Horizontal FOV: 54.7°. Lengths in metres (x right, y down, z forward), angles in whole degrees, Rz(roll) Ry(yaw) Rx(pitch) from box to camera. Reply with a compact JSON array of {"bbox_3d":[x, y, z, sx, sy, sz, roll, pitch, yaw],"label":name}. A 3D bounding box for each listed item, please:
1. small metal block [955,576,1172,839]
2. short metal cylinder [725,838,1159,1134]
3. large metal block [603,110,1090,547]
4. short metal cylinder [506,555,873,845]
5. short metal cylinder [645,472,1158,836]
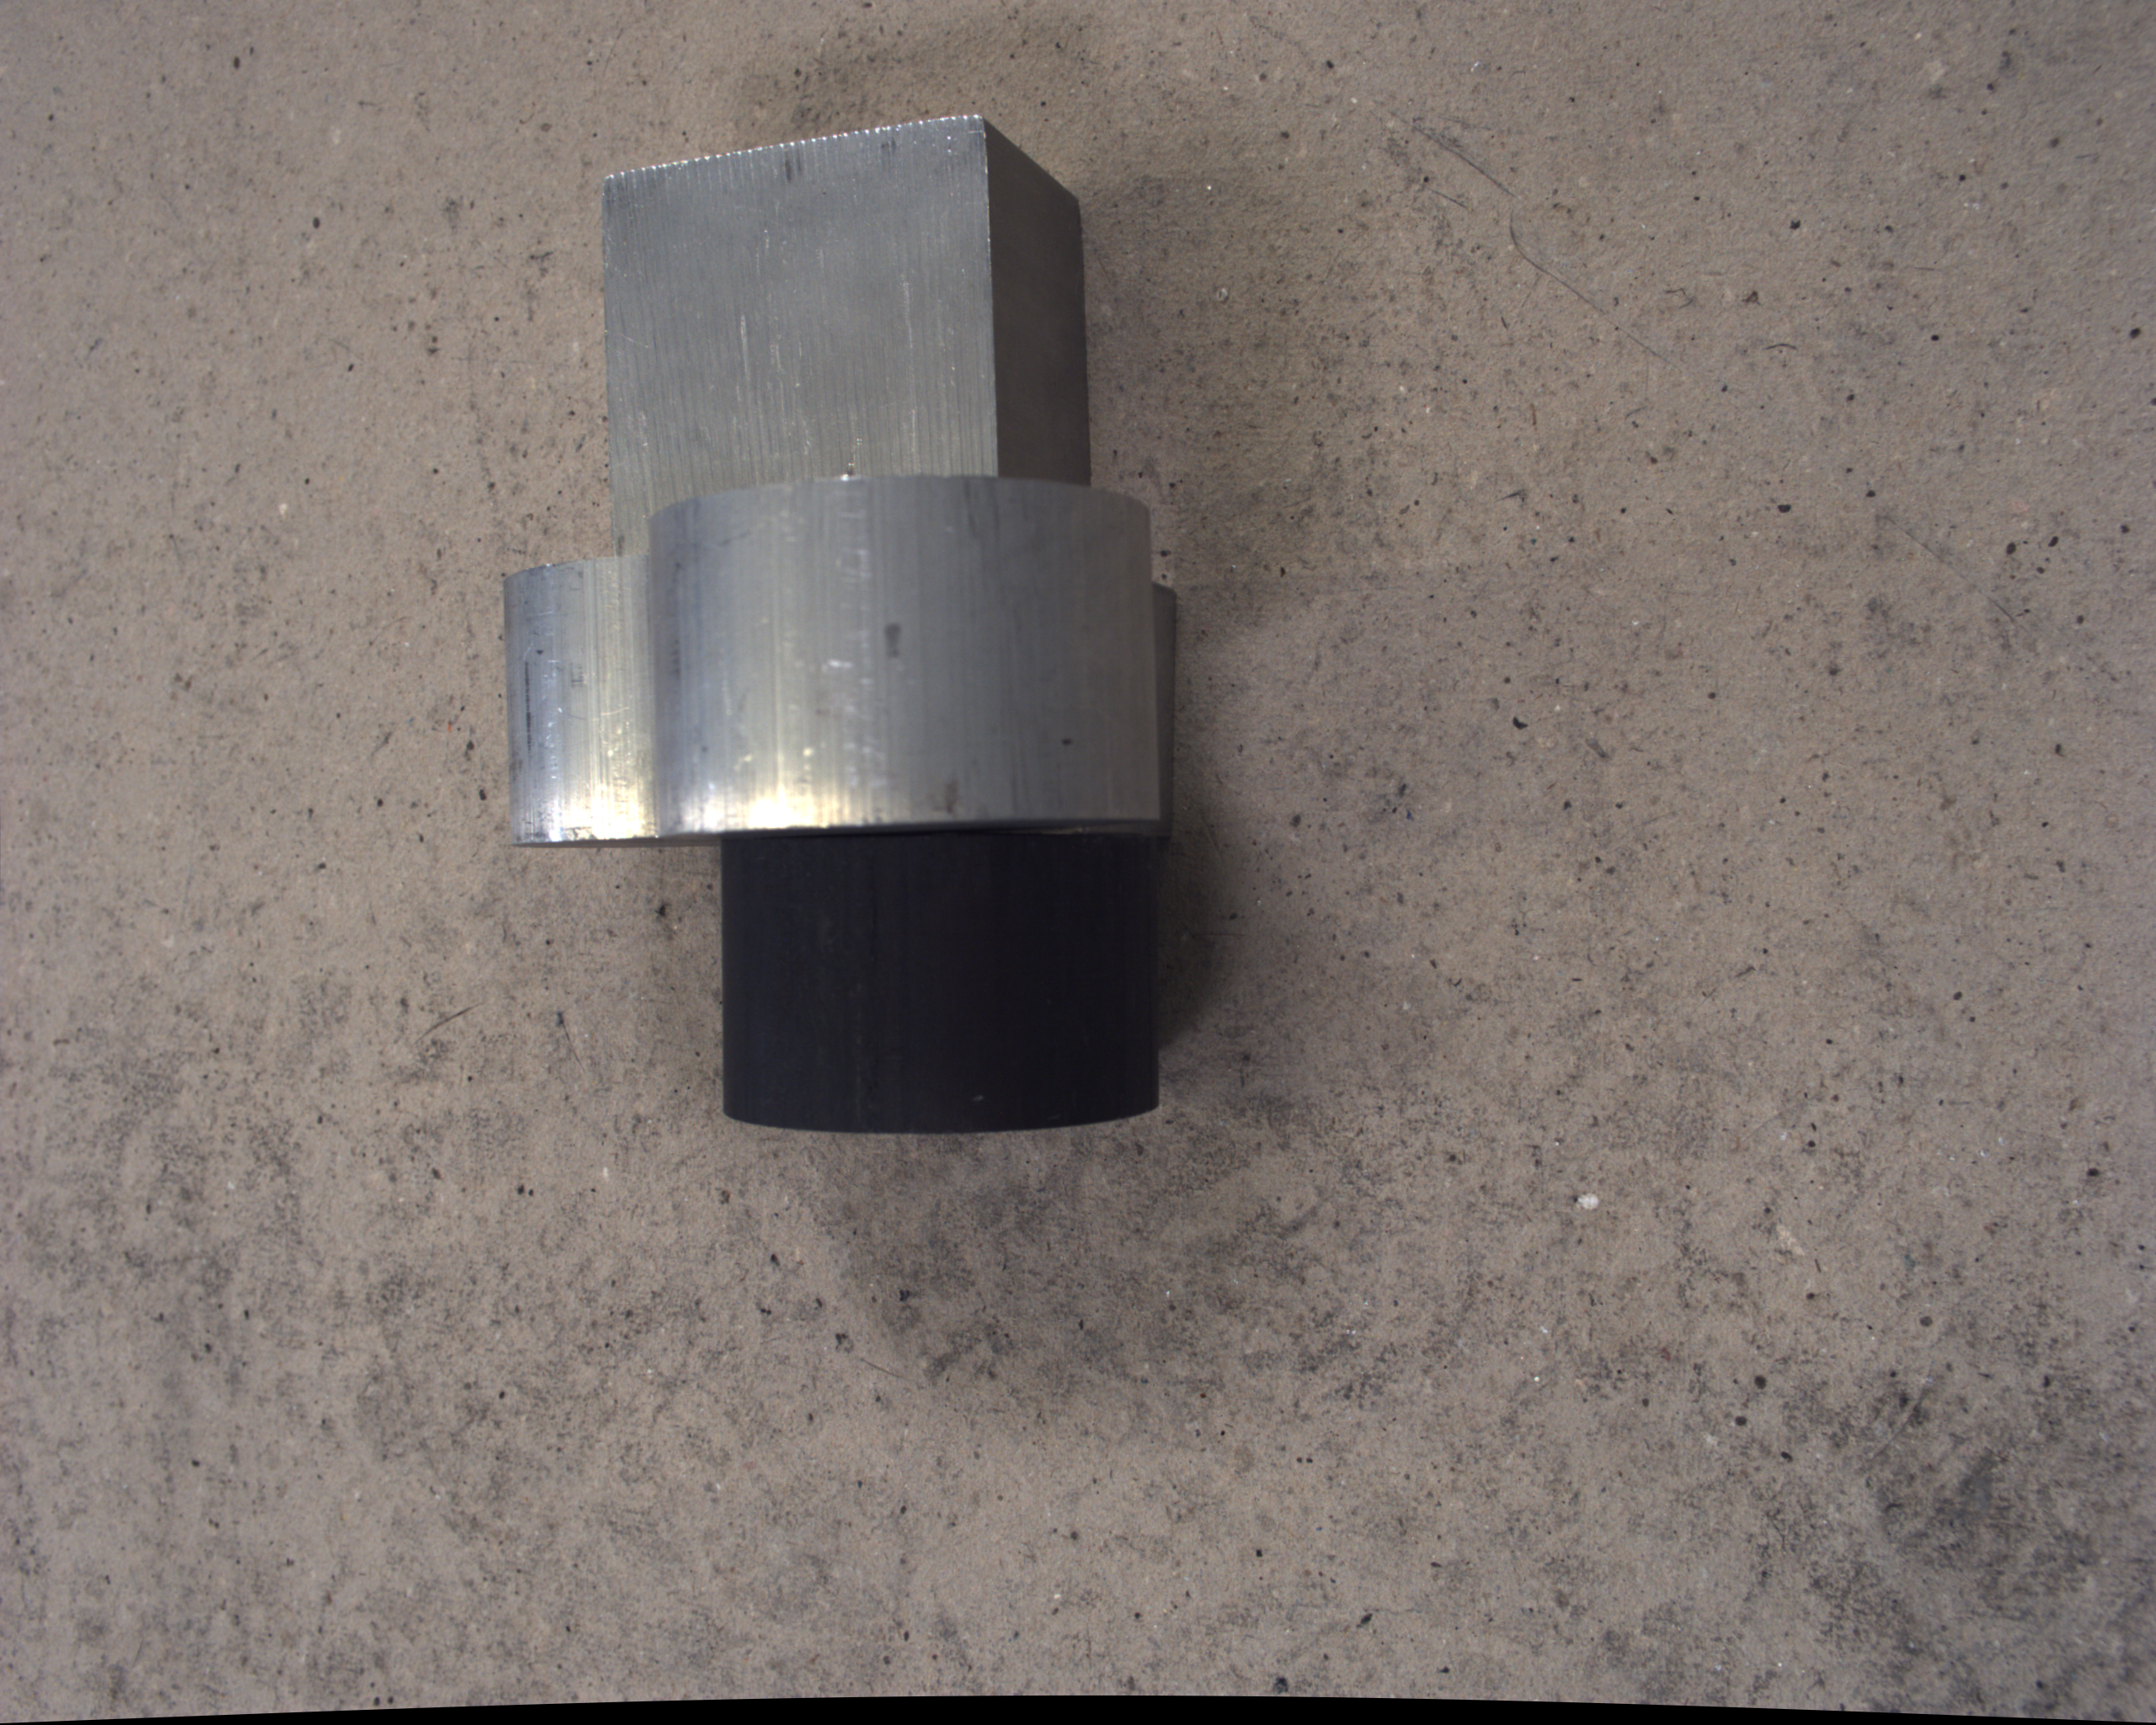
[{"bbox_3d":[-0.002,-0.030,0.400,0.025,0.050,0.050,1,91,20],"label":"small metal block"},{"bbox_3d":[-0.025,0.021,0.390,0.080,0.080,0.050,0,90,20],"label":"short metal cylinder"},{"bbox_3d":[-0.044,-0.095,0.413,0.080,0.050,0.080,-2,89,20],"label":"large metal block"},{"bbox_3d":[-0.069,-0.029,0.406,0.080,0.080,0.050,-2,89,20],"label":"short metal cylinder"},{"bbox_3d":[-0.028,-0.031,0.338,0.080,0.080,0.050,-2,89,20],"label":"short metal cylinder"}]
